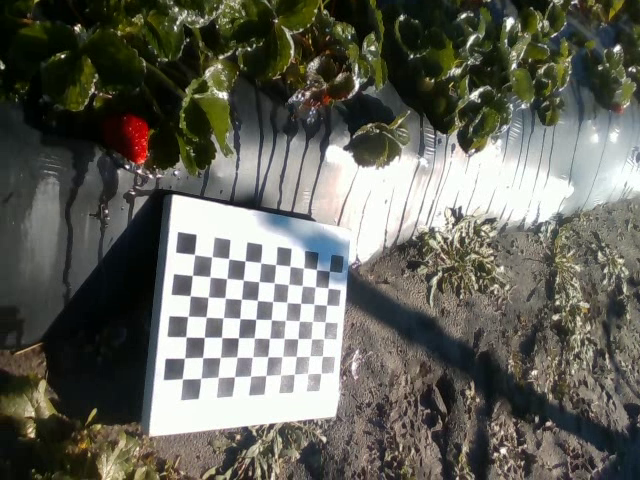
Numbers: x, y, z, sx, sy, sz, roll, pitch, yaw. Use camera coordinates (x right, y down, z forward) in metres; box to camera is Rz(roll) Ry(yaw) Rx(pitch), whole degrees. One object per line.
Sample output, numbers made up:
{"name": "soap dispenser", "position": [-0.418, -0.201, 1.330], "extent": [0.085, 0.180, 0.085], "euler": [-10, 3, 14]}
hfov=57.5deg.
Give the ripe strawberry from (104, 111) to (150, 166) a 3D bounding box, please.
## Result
{"name": "ripe strawberry", "position": [-0.160, -0.085, 0.485], "extent": [0.041, 0.053, 0.047], "euler": [1, -38, -41]}
